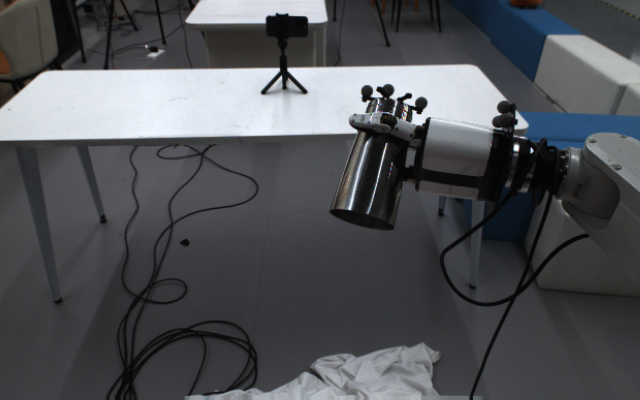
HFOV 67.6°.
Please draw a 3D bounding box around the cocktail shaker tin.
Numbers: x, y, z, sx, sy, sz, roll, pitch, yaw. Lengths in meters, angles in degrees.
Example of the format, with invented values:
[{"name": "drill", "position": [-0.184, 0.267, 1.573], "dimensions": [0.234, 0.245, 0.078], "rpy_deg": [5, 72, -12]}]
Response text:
[{"name": "cocktail shaker tin", "position": [0.082, -0.055, 0.678], "dimensions": [0.093, 0.093, 0.170], "rpy_deg": [13, 77, 15]}]
